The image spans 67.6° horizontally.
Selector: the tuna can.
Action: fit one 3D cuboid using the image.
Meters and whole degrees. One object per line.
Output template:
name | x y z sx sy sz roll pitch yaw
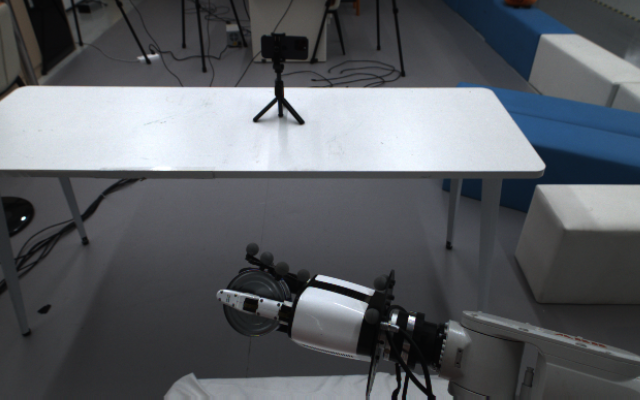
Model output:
tuna can | -0.079 0.133 0.637 0.085 0.085 0.034 13 -5 16
